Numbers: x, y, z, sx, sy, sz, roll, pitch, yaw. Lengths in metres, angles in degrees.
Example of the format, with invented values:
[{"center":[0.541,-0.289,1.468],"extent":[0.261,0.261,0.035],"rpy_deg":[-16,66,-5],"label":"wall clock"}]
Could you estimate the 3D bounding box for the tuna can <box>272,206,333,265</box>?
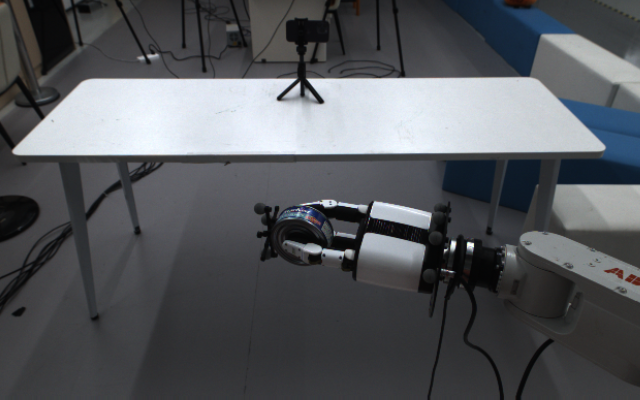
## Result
[{"center":[-0.024,0.049,0.686],"extent":[0.085,0.085,0.034],"rpy_deg":[9,33,10],"label":"tuna can"}]
